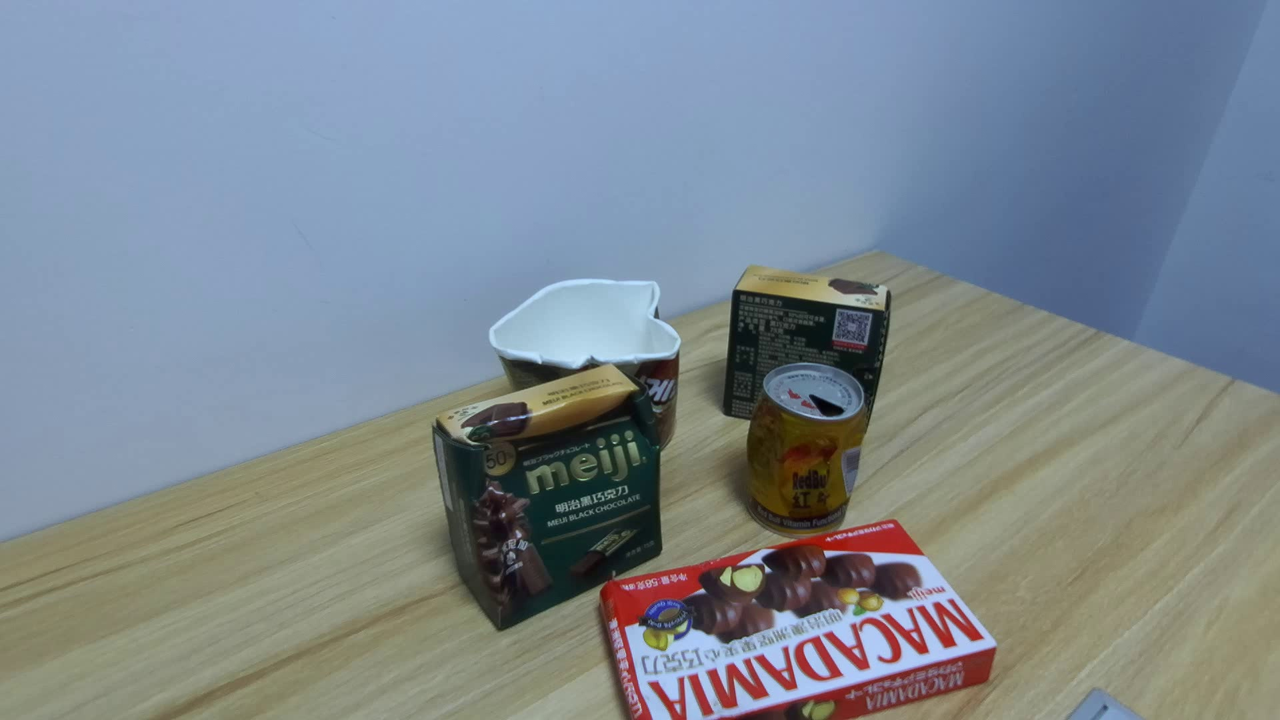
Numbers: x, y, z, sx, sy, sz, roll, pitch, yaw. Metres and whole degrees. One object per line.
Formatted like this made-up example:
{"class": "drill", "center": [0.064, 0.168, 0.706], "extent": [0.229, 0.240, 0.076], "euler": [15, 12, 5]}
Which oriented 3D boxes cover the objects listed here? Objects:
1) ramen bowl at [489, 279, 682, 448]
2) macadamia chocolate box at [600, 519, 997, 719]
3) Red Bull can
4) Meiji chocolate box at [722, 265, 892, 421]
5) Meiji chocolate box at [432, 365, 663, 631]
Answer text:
{"class": "ramen bowl", "center": [-0.038, 0.009, 0.508], "extent": [0.134, 0.097, 0.113], "euler": [-5, 33, -13]}
{"class": "macadamia chocolate box", "center": [0.076, 0.138, 0.364], "extent": [0.183, 0.028, 0.105], "euler": [-8, 30, -13]}
{"class": "Red Bull can", "center": [0.101, 0.055, 0.436], "extent": [0.072, 0.092, 0.072], "euler": [1, 31, 0]}
{"class": "Meiji chocolate box", "center": [0.126, -0.008, 0.530], "extent": [0.113, 0.111, 0.058], "euler": [10, 31, 18]}
{"class": "Meiji chocolate box", "center": [-0.046, 0.071, 0.395], "extent": [0.118, 0.117, 0.051], "euler": [-17, 25, -28]}
